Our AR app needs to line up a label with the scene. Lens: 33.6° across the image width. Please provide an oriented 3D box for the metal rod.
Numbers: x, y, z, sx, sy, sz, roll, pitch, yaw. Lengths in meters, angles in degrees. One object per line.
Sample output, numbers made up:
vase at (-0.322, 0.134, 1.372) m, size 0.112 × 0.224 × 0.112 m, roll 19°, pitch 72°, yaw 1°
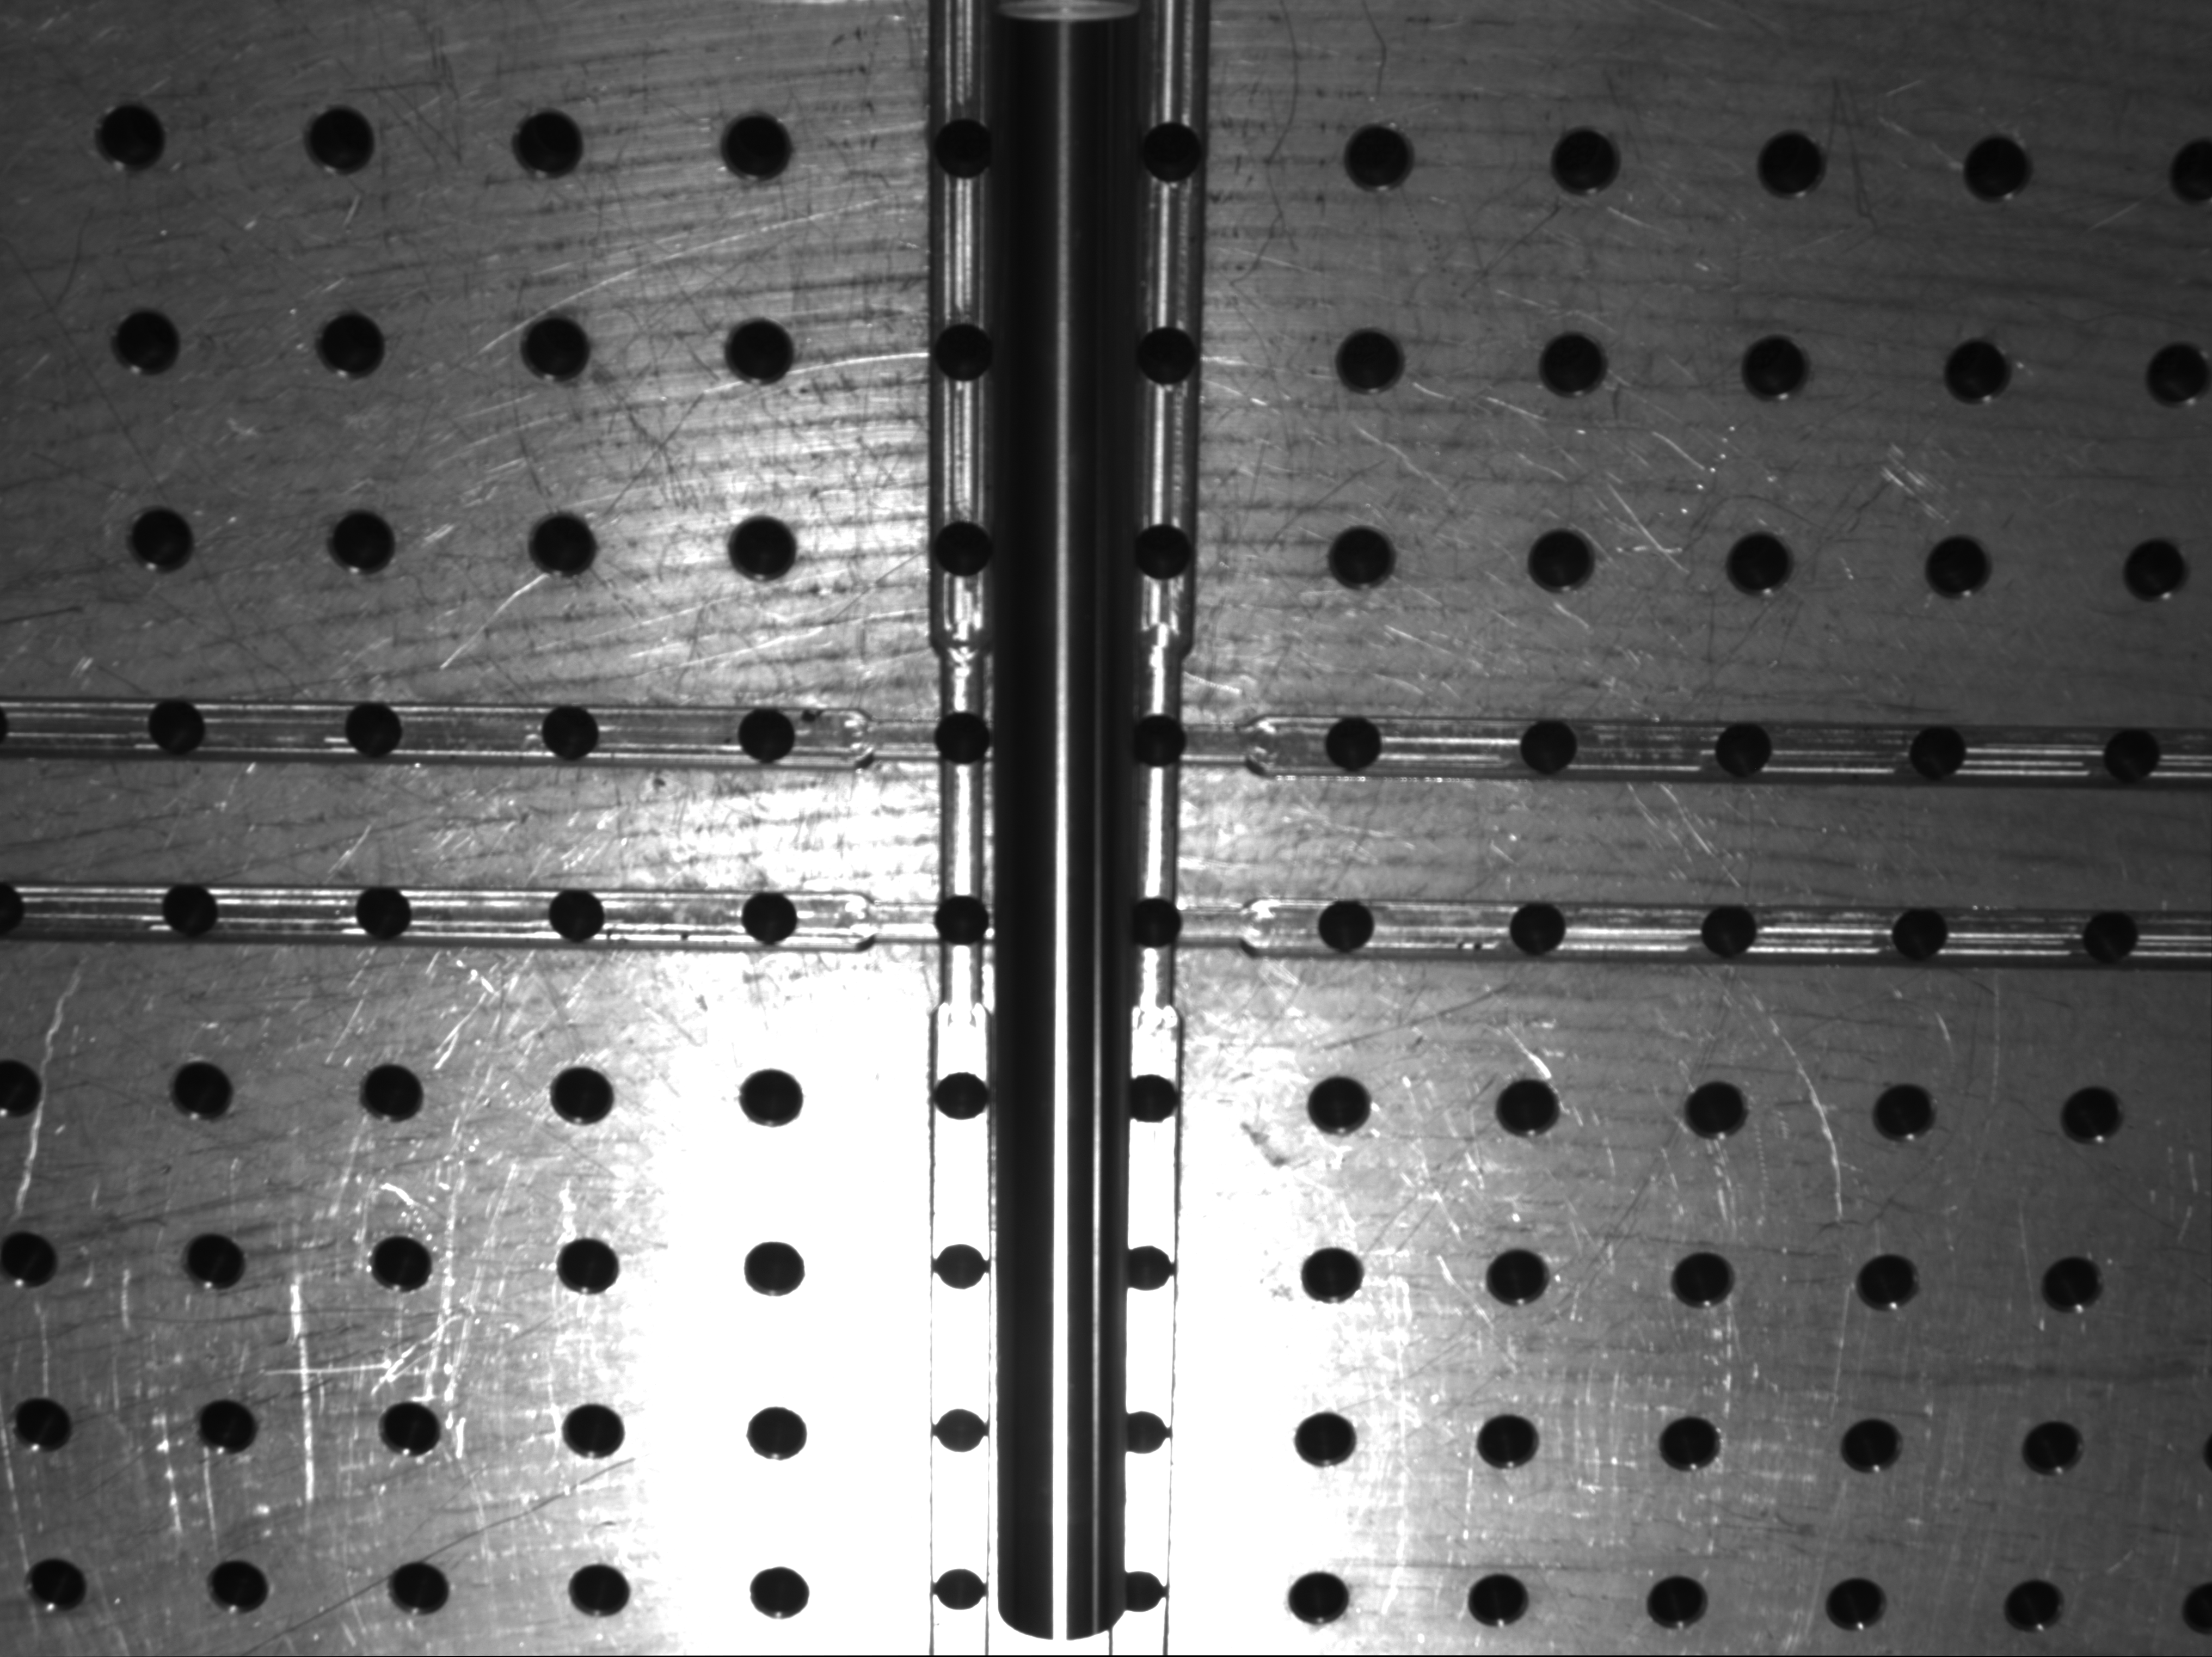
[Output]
metal rod at (-0.008, 0.008, 0.648) m, size 0.025 × 0.025 × 0.300 m, roll 0°, pitch 110°, yaw -1°
